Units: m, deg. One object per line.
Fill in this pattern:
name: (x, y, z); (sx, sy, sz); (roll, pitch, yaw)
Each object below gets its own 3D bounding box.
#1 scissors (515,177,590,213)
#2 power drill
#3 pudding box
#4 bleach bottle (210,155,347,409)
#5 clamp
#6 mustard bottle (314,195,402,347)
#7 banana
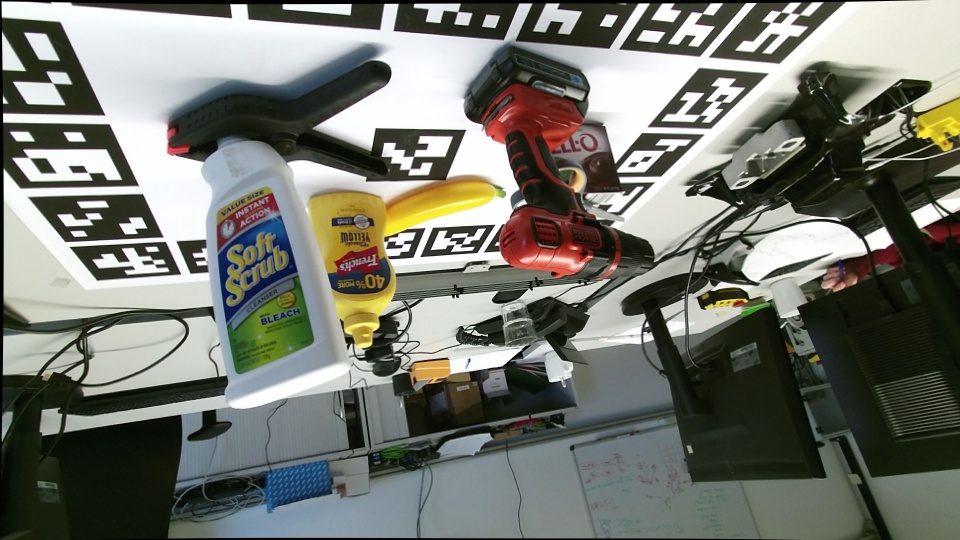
scissors: (0.129, -0.057, 0.626); (0.203, 0.016, 0.088); (13, 142, -39)
power drill: (0.093, -0.079, 0.519); (0.185, 0.186, 0.057); (-2, 162, -33)
pudding box: (0.109, -0.117, 0.641); (0.114, 0.089, 0.039); (-3, 162, -23)
bleach bottle: (-0.201, -0.008, 0.486); (0.103, 0.249, 0.068); (-19, 162, -5)
clamp: (-0.186, -0.111, 0.523); (0.203, 0.036, 0.165); (-6, 155, -13)
mustard bottle: (-0.147, 0.002, 0.661); (0.096, 0.190, 0.058); (3, 153, -32)
banana: (-0.063, -0.059, 0.734); (0.198, 0.038, 0.074); (-21, 173, 17)
